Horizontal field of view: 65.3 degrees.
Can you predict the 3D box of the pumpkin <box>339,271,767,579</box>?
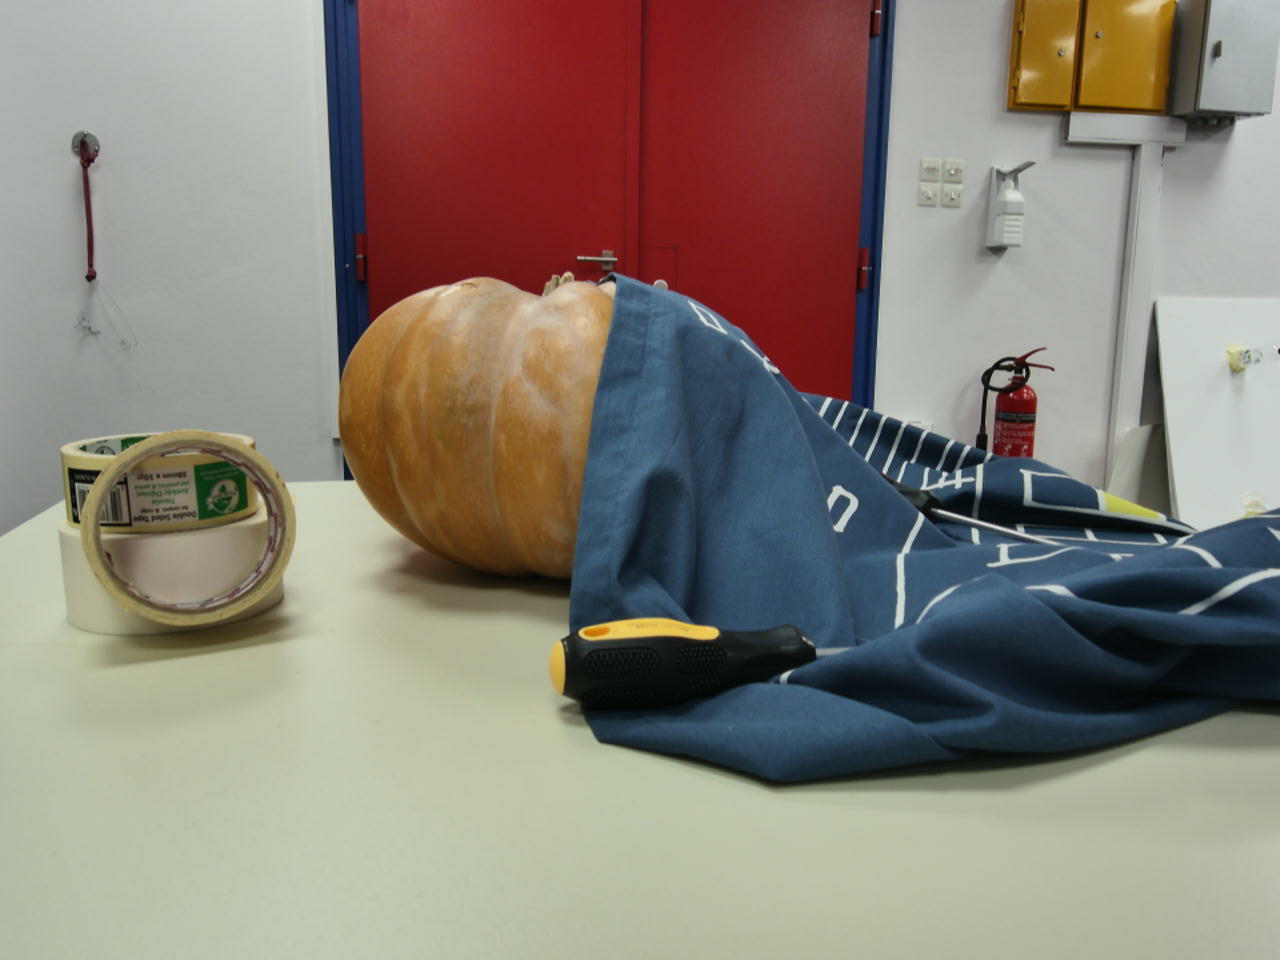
[{"bbox_3d":[-0.050,-0.037,0.621,0.277,0.181,0.277,0,8,0],"label":"pumpkin"}]
